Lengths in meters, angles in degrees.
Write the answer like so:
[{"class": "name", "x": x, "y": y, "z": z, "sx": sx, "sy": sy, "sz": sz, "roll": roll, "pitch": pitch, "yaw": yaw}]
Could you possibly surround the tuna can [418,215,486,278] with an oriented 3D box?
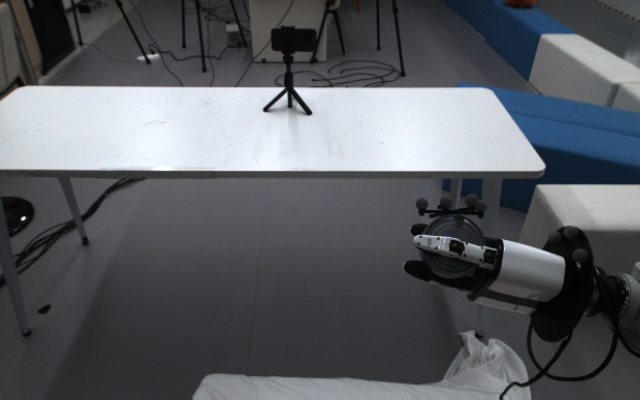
[{"class": "tuna can", "x": 0.180, "y": 0.062, "z": 0.660, "sx": 0.085, "sy": 0.034, "sz": 0.085, "roll": -1, "pitch": 75, "yaw": 4}]
